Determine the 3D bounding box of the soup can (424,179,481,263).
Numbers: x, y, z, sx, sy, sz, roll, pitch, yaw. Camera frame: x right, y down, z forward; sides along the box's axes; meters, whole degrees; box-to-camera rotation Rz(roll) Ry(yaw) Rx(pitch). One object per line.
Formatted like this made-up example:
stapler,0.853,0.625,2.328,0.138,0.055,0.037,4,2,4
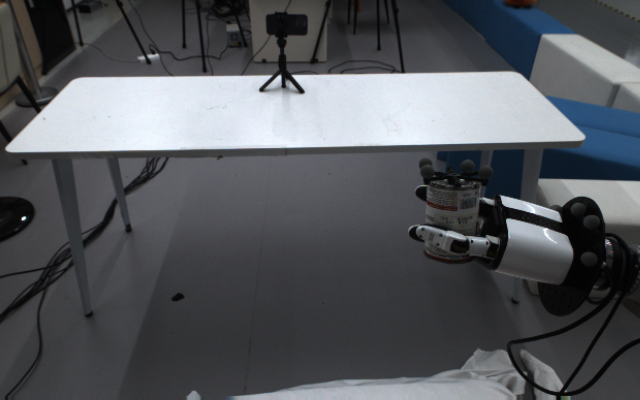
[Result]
soup can,0.173,0.023,0.627,0.067,0.101,0.067,-2,17,0
